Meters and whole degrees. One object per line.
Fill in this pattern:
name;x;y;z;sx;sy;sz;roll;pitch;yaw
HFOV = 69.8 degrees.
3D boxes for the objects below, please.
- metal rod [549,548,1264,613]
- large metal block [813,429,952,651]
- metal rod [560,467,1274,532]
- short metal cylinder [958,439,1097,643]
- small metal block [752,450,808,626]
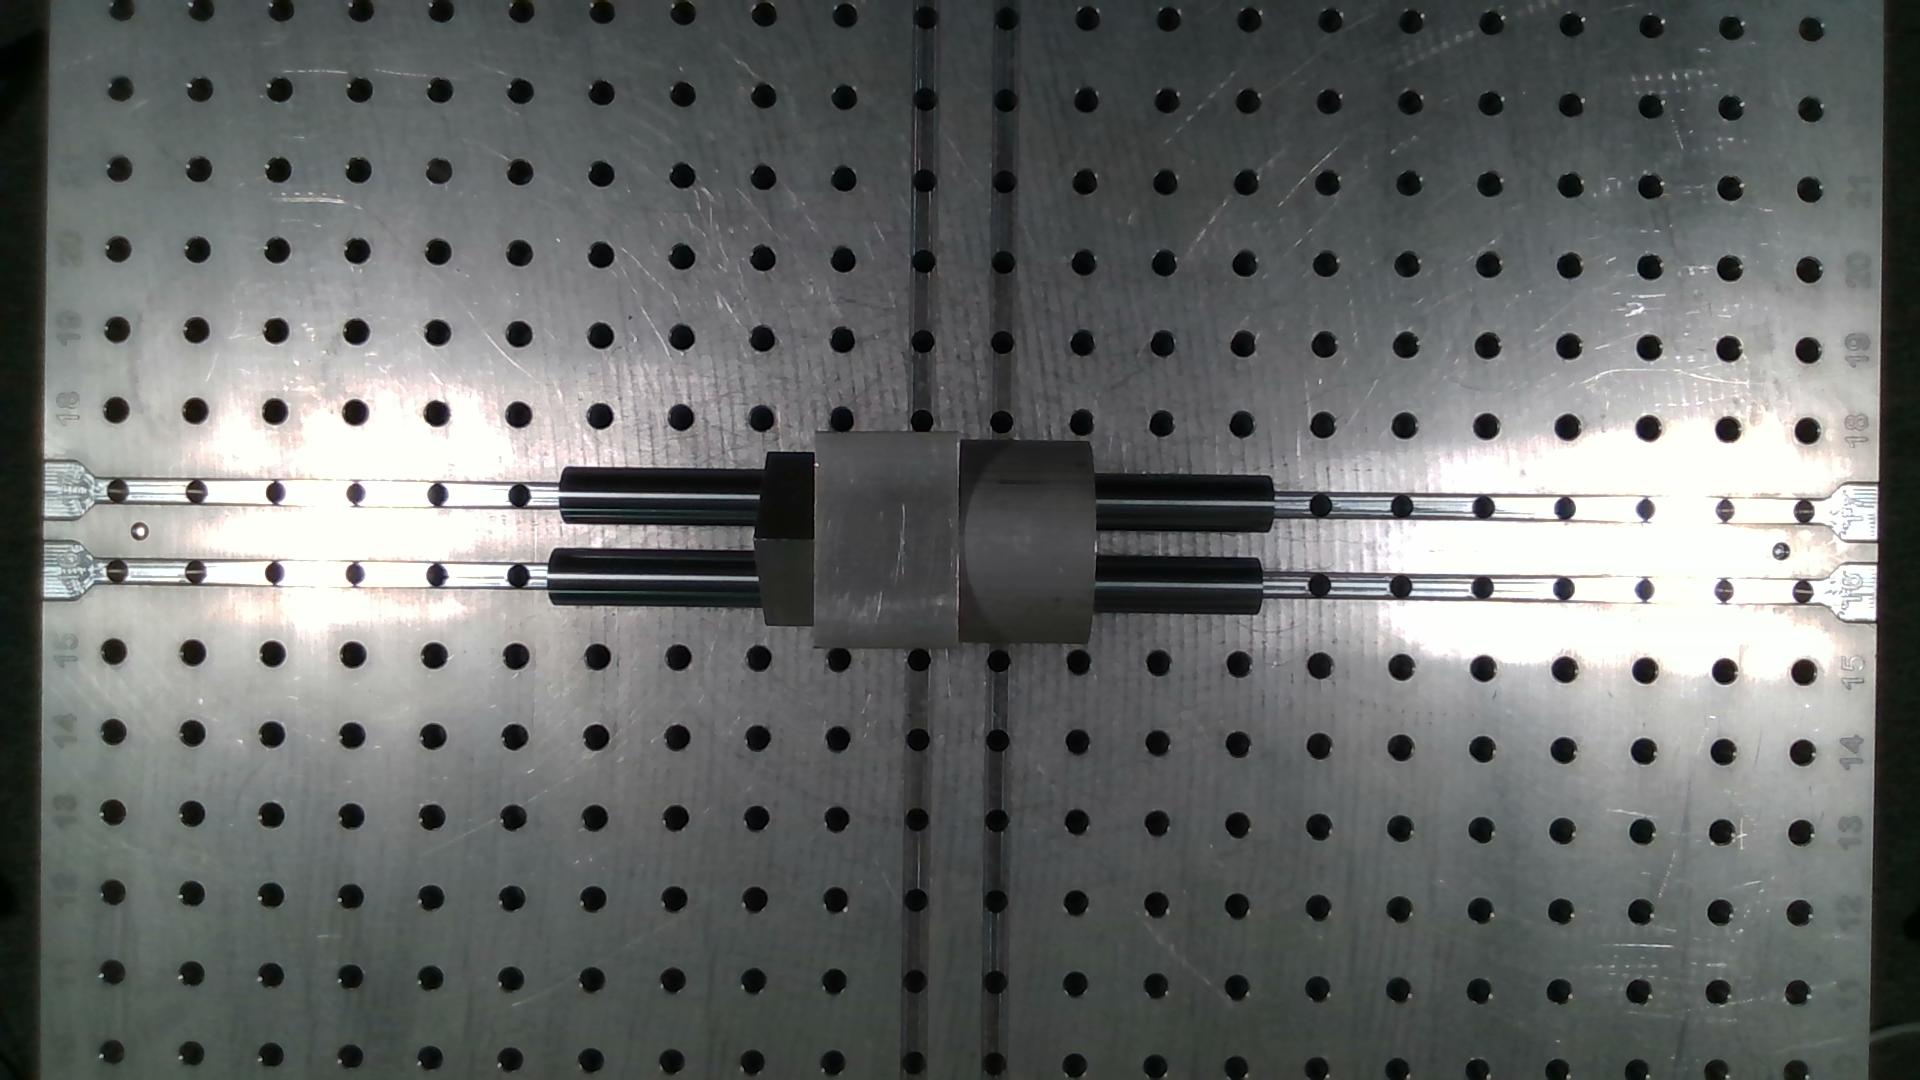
metal rod;-0.022;0.018;0.591;0.300;0.025;0.025;1;90;0
large metal block;-0.028;0.000;0.537;0.050;0.080;0.080;0;90;0
metal rod;-0.018;-0.018;0.590;0.300;0.025;0.025;1;90;0
short metal cylinder;0.025;0.001;0.541;0.050;0.080;0.080;1;90;0
small metal block;-0.066;-0.001;0.554;0.025;0.050;0.050;1;135;0
